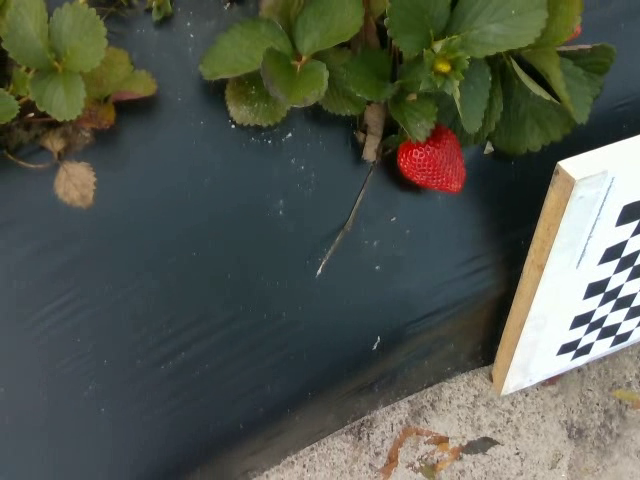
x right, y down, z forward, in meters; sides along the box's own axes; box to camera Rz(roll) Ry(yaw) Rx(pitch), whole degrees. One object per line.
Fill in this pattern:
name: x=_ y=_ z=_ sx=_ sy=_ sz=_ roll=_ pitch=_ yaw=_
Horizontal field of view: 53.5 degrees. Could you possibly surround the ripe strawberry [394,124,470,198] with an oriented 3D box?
ripe strawberry: x=0.061 y=-0.041 z=0.340 sx=0.037 sy=0.046 sz=0.037 roll=-42 pitch=-2 yaw=25
